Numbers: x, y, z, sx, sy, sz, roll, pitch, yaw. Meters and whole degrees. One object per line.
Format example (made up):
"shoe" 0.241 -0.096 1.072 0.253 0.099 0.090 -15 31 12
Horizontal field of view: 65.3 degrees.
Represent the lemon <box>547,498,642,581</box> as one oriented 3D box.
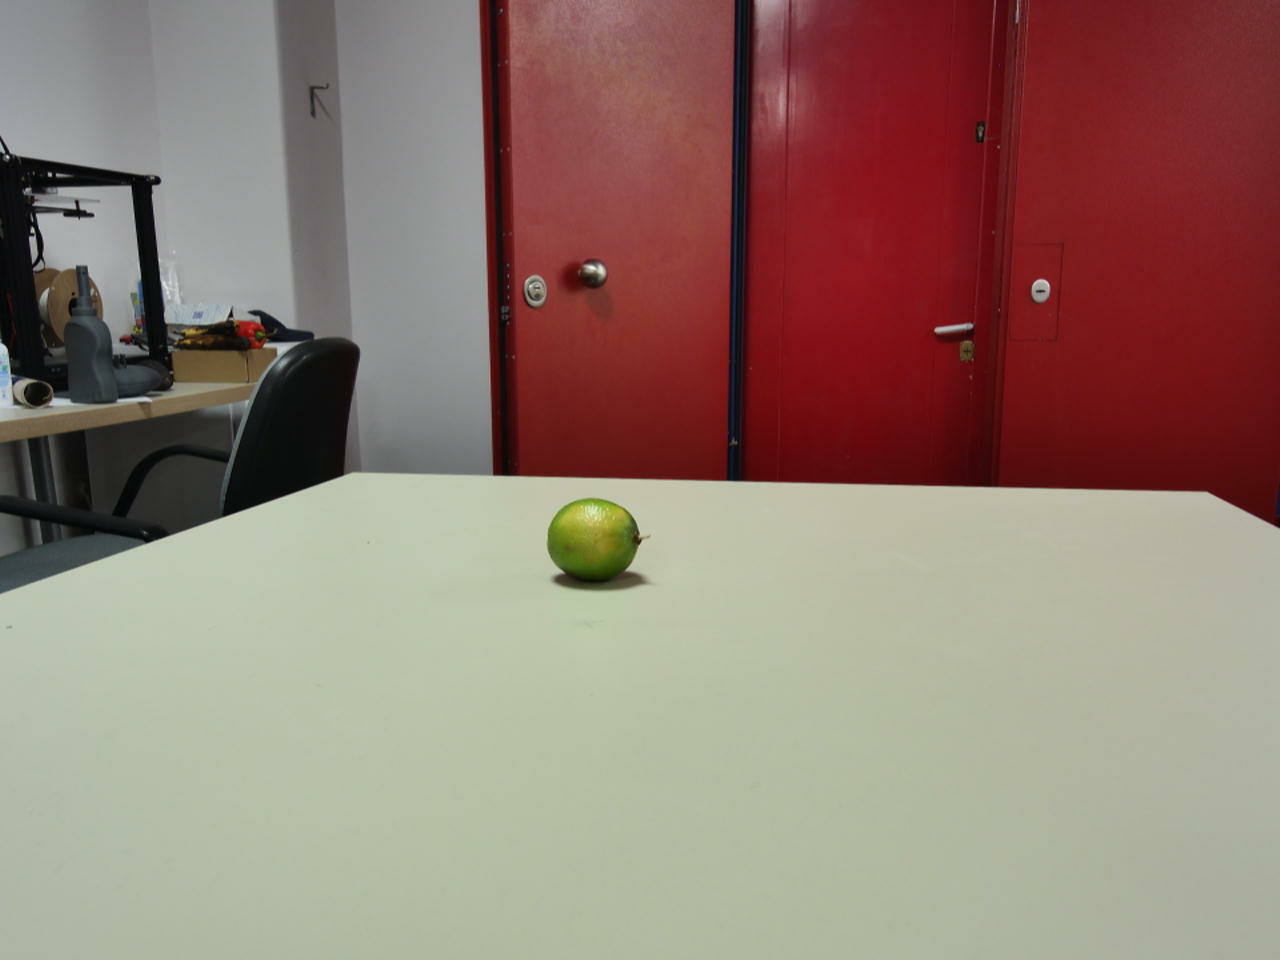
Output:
"lemon" -0.029 0.037 0.618 0.054 0.050 0.055 -4 9 -28
